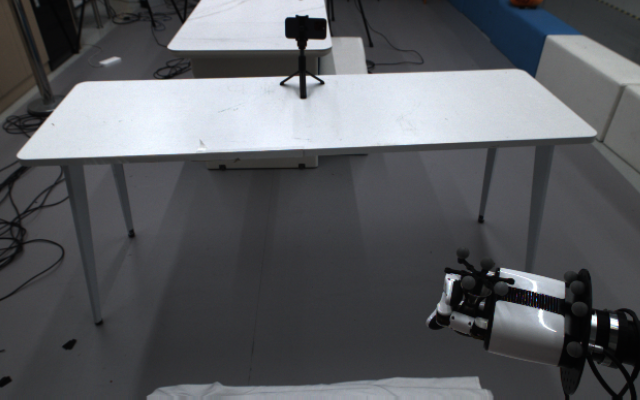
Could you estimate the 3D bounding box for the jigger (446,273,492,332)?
[{"bbox_3d":[0.205,0.144,0.657,0.043,0.071,0.043,6,26,-3],"label":"jigger"}]
